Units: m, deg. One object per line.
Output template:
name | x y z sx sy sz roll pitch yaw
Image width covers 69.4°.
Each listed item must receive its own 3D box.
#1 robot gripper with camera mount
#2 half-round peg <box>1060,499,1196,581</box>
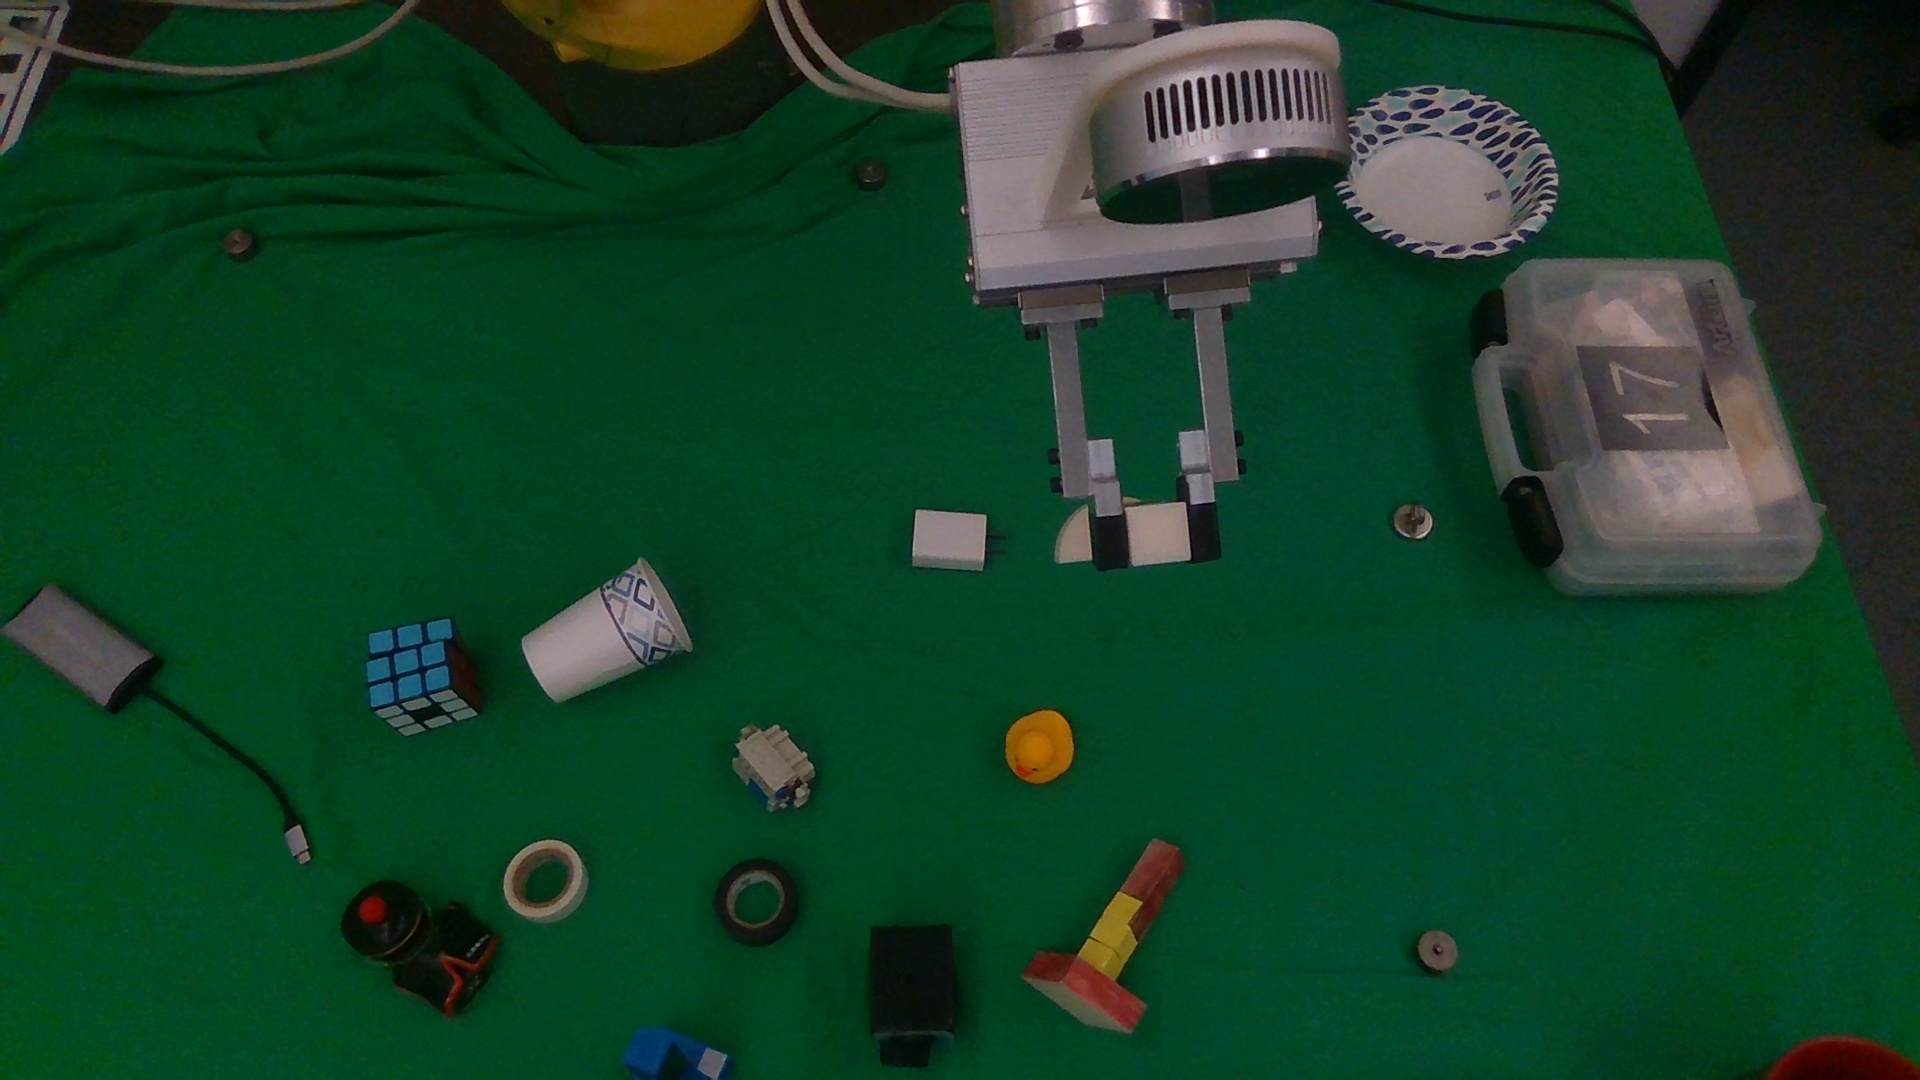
robot gripper with camera mount | 0.068 -0.070 0.384 0.119 0.193 0.158 -6 91 -4
half-round peg | 0.068 0.000 0.520 0.054 0.122 0.031 -7 92 -1
